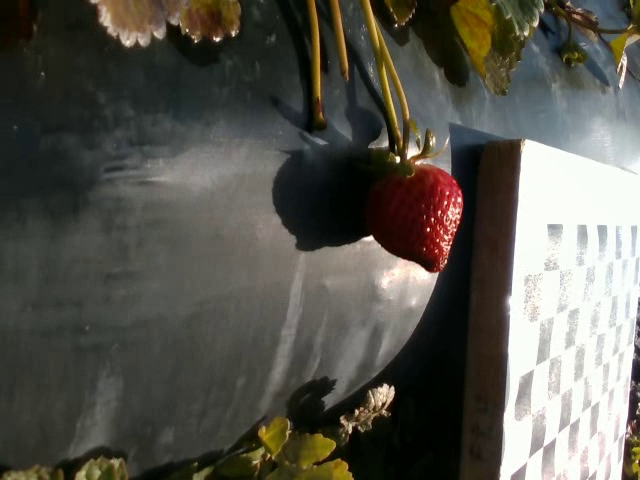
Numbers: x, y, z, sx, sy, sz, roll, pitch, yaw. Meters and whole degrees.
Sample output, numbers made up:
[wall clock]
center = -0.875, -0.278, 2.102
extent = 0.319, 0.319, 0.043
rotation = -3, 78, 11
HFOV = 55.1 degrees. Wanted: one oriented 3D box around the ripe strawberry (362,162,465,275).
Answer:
[ripe strawberry]
center = 0.035, -0.006, 0.209
extent = 0.036, 0.044, 0.040
rotation = -10, 13, 44
